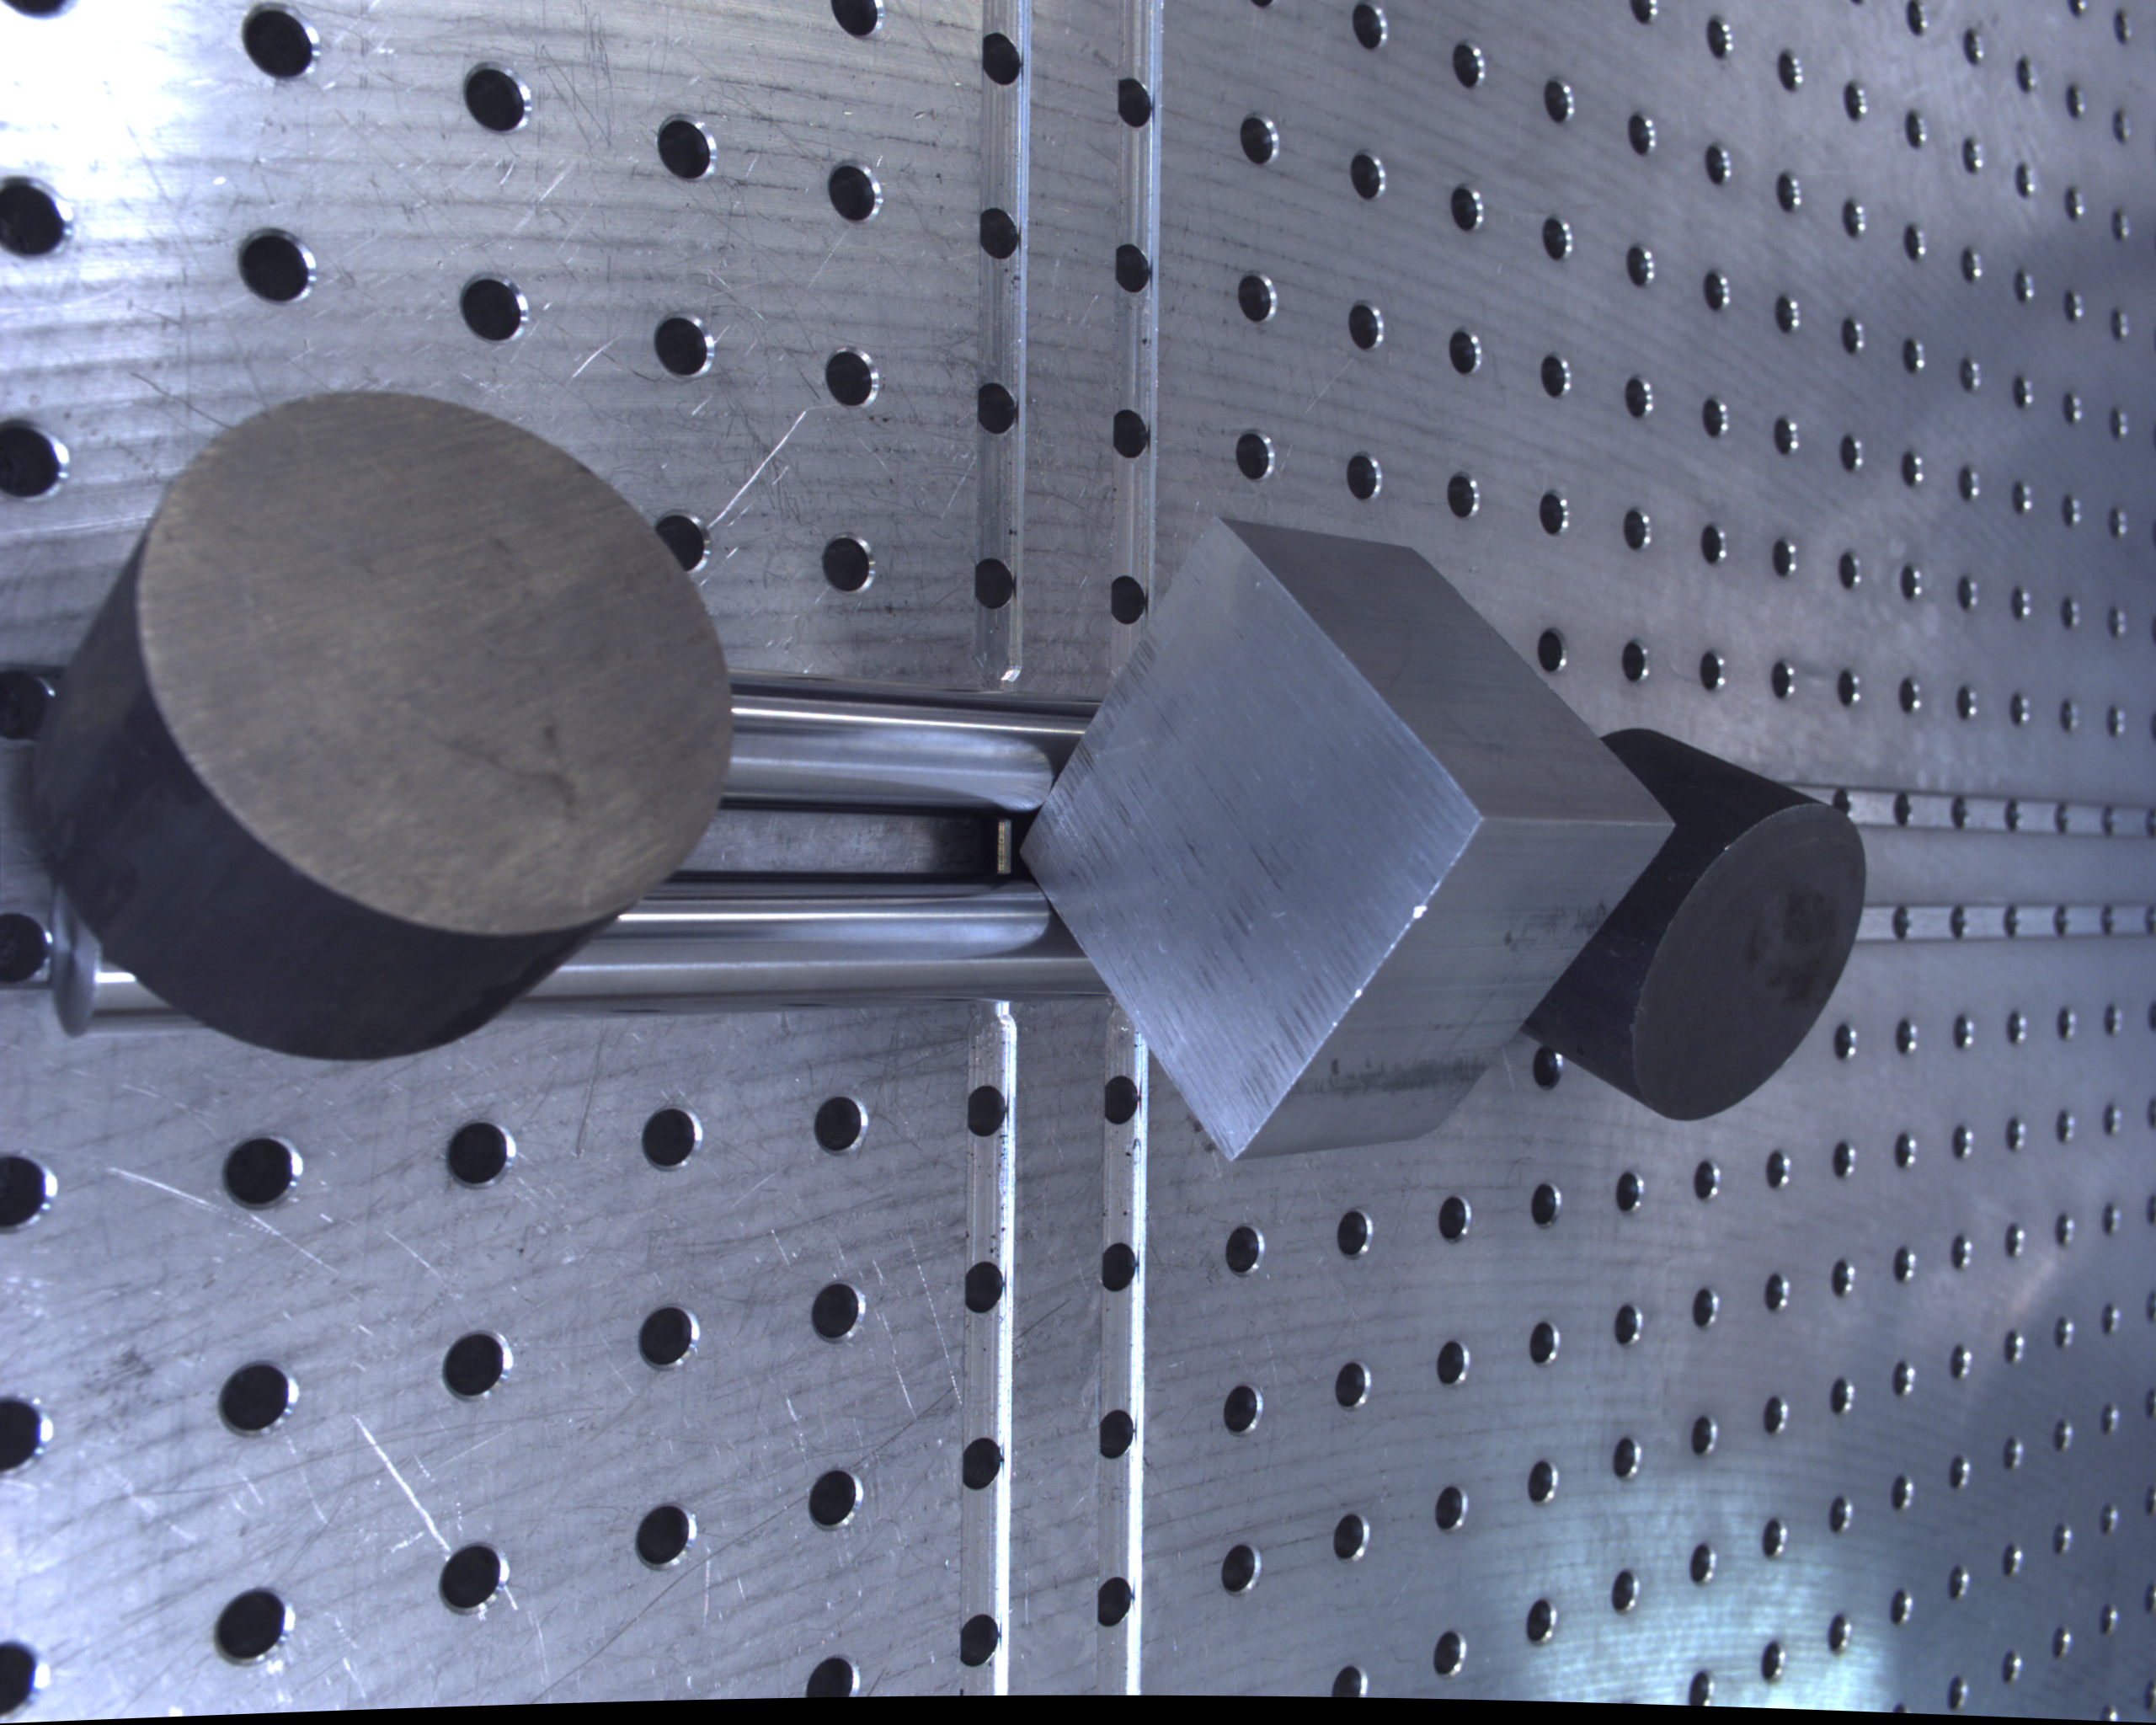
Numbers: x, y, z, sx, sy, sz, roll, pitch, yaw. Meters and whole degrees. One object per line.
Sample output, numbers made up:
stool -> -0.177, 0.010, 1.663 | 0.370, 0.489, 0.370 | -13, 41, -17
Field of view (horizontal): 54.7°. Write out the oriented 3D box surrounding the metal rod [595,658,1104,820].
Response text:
metal rod -> 0.034, -0.020, 0.437 | 0.302, 0.025, 0.025 | 1, 90, -40

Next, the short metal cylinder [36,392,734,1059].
short metal cylinder -> -0.096, -0.018, 0.293 | 0.080, 0.050, 0.080 | 20, 56, -31

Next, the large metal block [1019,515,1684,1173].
large metal block -> 0.044, -0.003, 0.372 | 0.050, 0.080, 0.079 | 1, 132, -40

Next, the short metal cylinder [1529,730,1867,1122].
short metal cylinder -> 0.139, 0.014, 0.492 | 0.081, 0.050, 0.079 | -19, 123, -31

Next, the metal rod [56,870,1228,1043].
metal rod -> -0.024, 0.014, 0.389 | 0.302, 0.025, 0.025 | 1, 90, -40
